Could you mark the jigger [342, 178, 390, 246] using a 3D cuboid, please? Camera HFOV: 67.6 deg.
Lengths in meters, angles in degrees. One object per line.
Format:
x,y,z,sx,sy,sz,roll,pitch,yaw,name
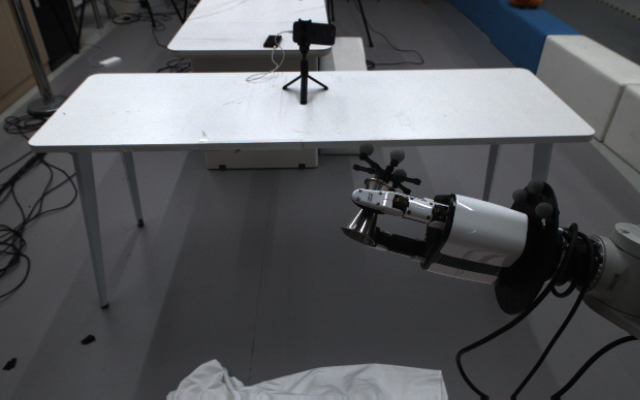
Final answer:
0.057,0.011,0.565,0.043,0.043,0.071,19,72,23,jigger
